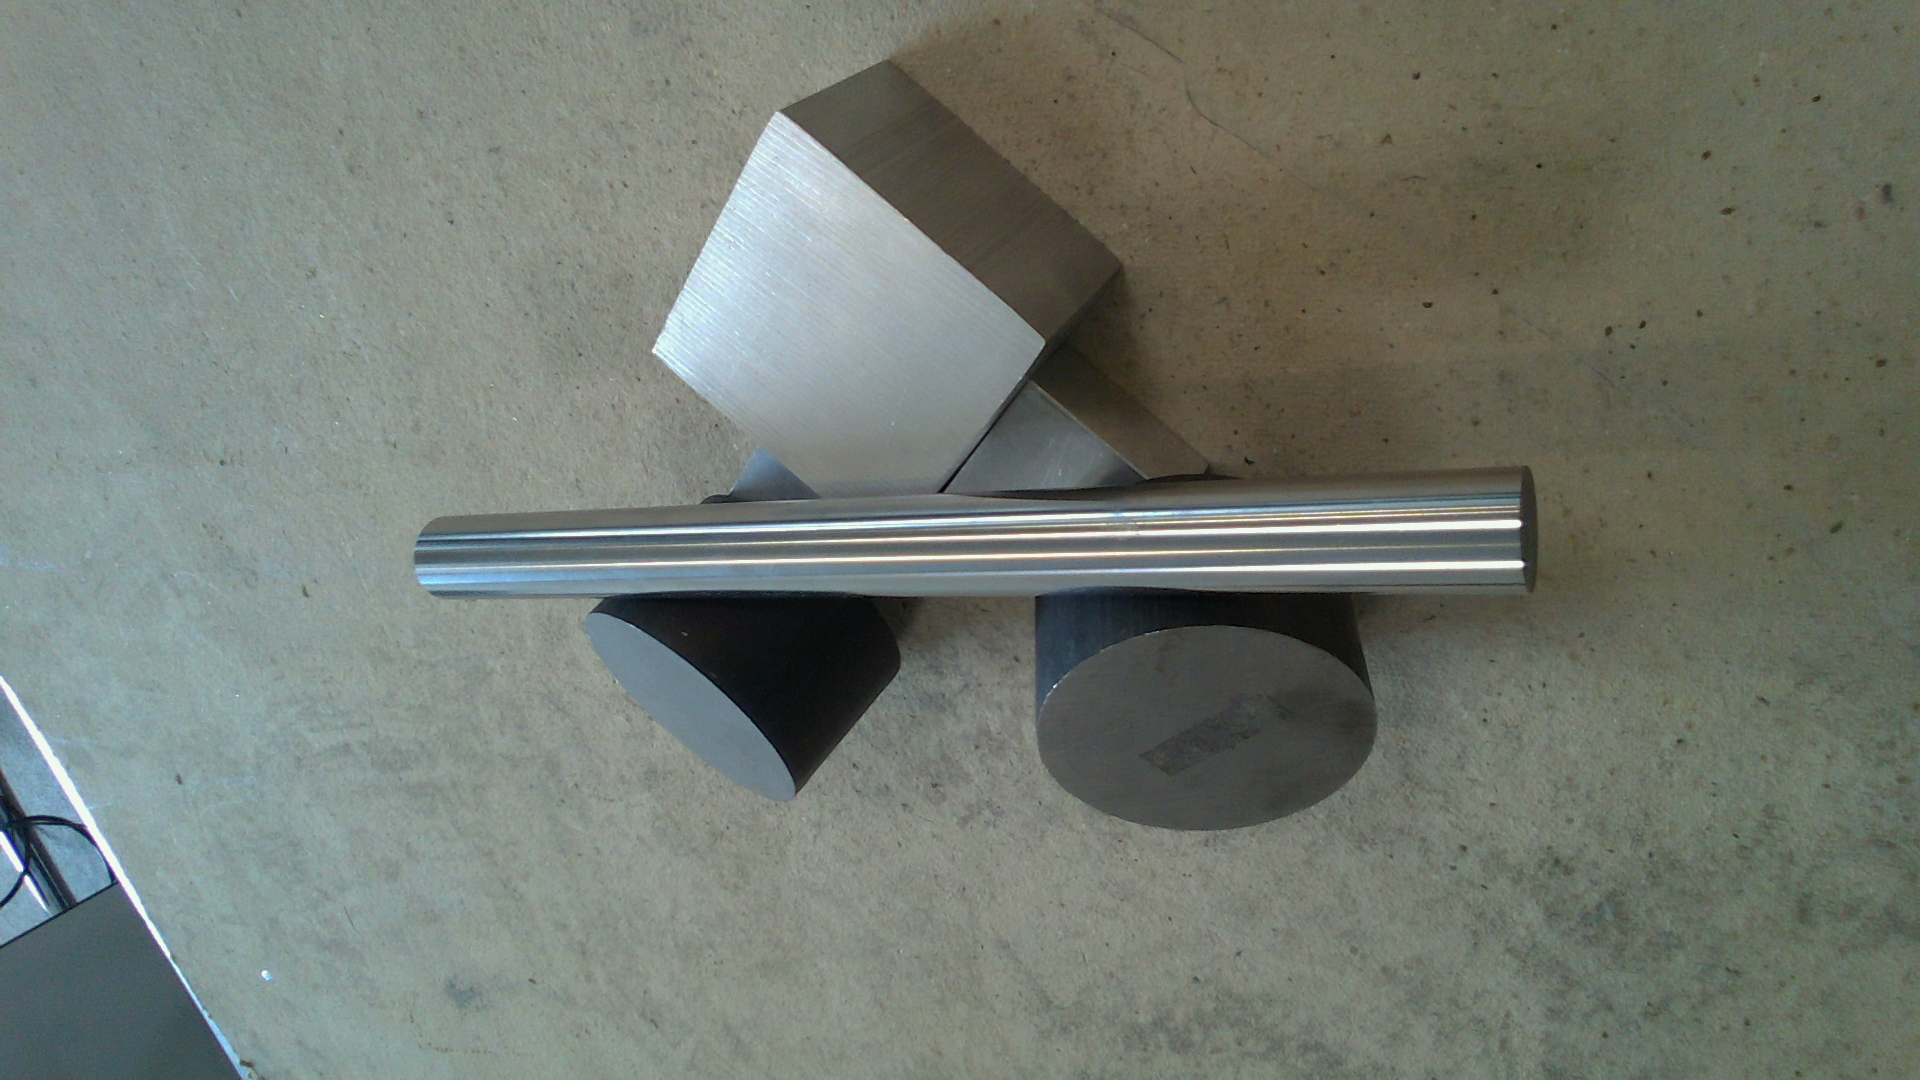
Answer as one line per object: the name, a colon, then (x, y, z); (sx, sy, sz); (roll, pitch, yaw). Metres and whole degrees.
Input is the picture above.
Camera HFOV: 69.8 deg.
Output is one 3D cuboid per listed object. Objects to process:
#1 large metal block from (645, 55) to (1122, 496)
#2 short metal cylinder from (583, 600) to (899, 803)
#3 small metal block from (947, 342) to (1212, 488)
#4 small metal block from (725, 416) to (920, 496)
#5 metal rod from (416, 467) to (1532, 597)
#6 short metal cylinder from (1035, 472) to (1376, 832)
large metal block: (-0.020, -0.059, 0.349); (0.080, 0.050, 0.080); (41, 129, 0)
short metal cylinder: (-0.065, 0.033, 0.414); (0.080, 0.050, 0.080); (31, 153, 19)
small metal block: (0.030, -0.015, 0.368); (0.050, 0.025, 0.050); (40, 129, 1)
small metal block: (-0.034, -0.017, 0.401); (0.050, 0.025, 0.050); (40, 128, 1)
metal rod: (-0.021, 0.002, 0.338); (0.299, 0.025, 0.025); (-1, 118, 29)
short metal cylinder: (0.059, 0.029, 0.345); (0.080, 0.050, 0.080); (2, 135, 2)
